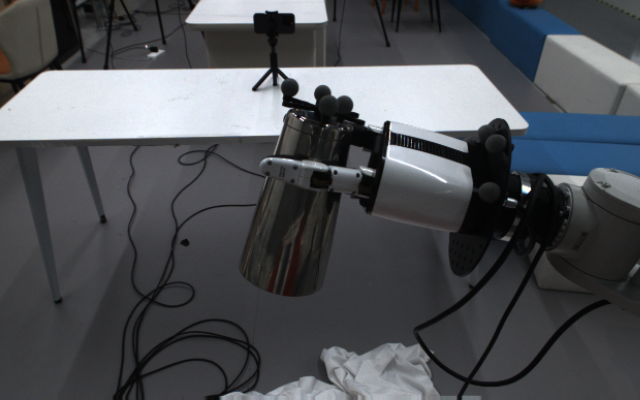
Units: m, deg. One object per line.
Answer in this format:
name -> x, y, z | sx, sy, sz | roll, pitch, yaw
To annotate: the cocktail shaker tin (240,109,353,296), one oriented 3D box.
cocktail shaker tin -> -0.017, -0.003, 0.492 | 0.093, 0.170, 0.093 | 14, 19, -5
